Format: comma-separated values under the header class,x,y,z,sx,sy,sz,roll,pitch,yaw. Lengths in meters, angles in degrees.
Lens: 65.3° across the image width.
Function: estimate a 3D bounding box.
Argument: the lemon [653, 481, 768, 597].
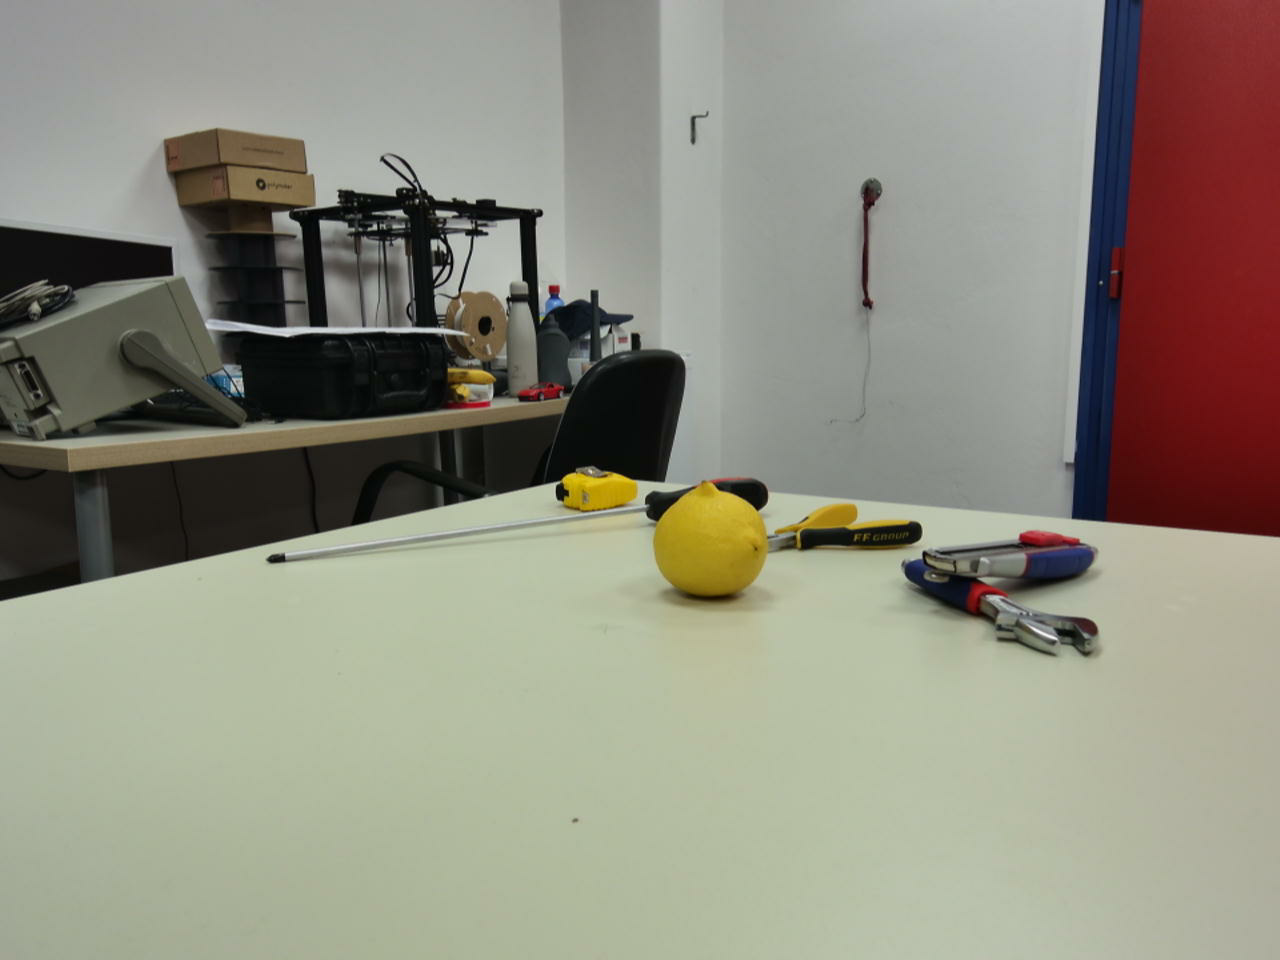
class,x,y,z,sx,sy,sz,roll,pitch,yaw
lemon,0.043,0.036,0.621,0.070,0.071,0.071,0,7,1
